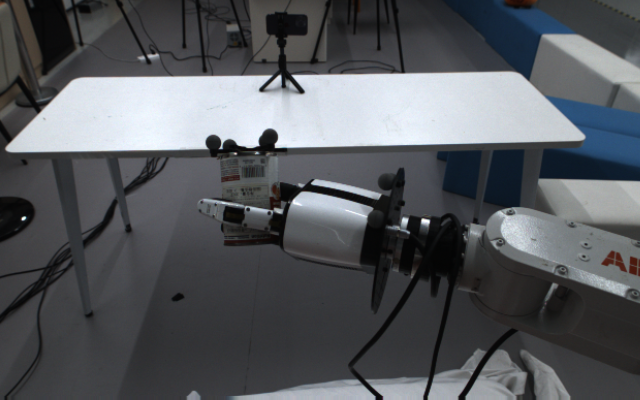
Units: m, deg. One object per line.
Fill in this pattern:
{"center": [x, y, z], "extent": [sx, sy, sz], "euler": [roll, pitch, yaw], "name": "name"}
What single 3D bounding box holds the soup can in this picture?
{"center": [-0.076, 0.000, 0.550], "extent": [0.067, 0.101, 0.067], "euler": [-3, -1, 0], "name": "soup can"}
